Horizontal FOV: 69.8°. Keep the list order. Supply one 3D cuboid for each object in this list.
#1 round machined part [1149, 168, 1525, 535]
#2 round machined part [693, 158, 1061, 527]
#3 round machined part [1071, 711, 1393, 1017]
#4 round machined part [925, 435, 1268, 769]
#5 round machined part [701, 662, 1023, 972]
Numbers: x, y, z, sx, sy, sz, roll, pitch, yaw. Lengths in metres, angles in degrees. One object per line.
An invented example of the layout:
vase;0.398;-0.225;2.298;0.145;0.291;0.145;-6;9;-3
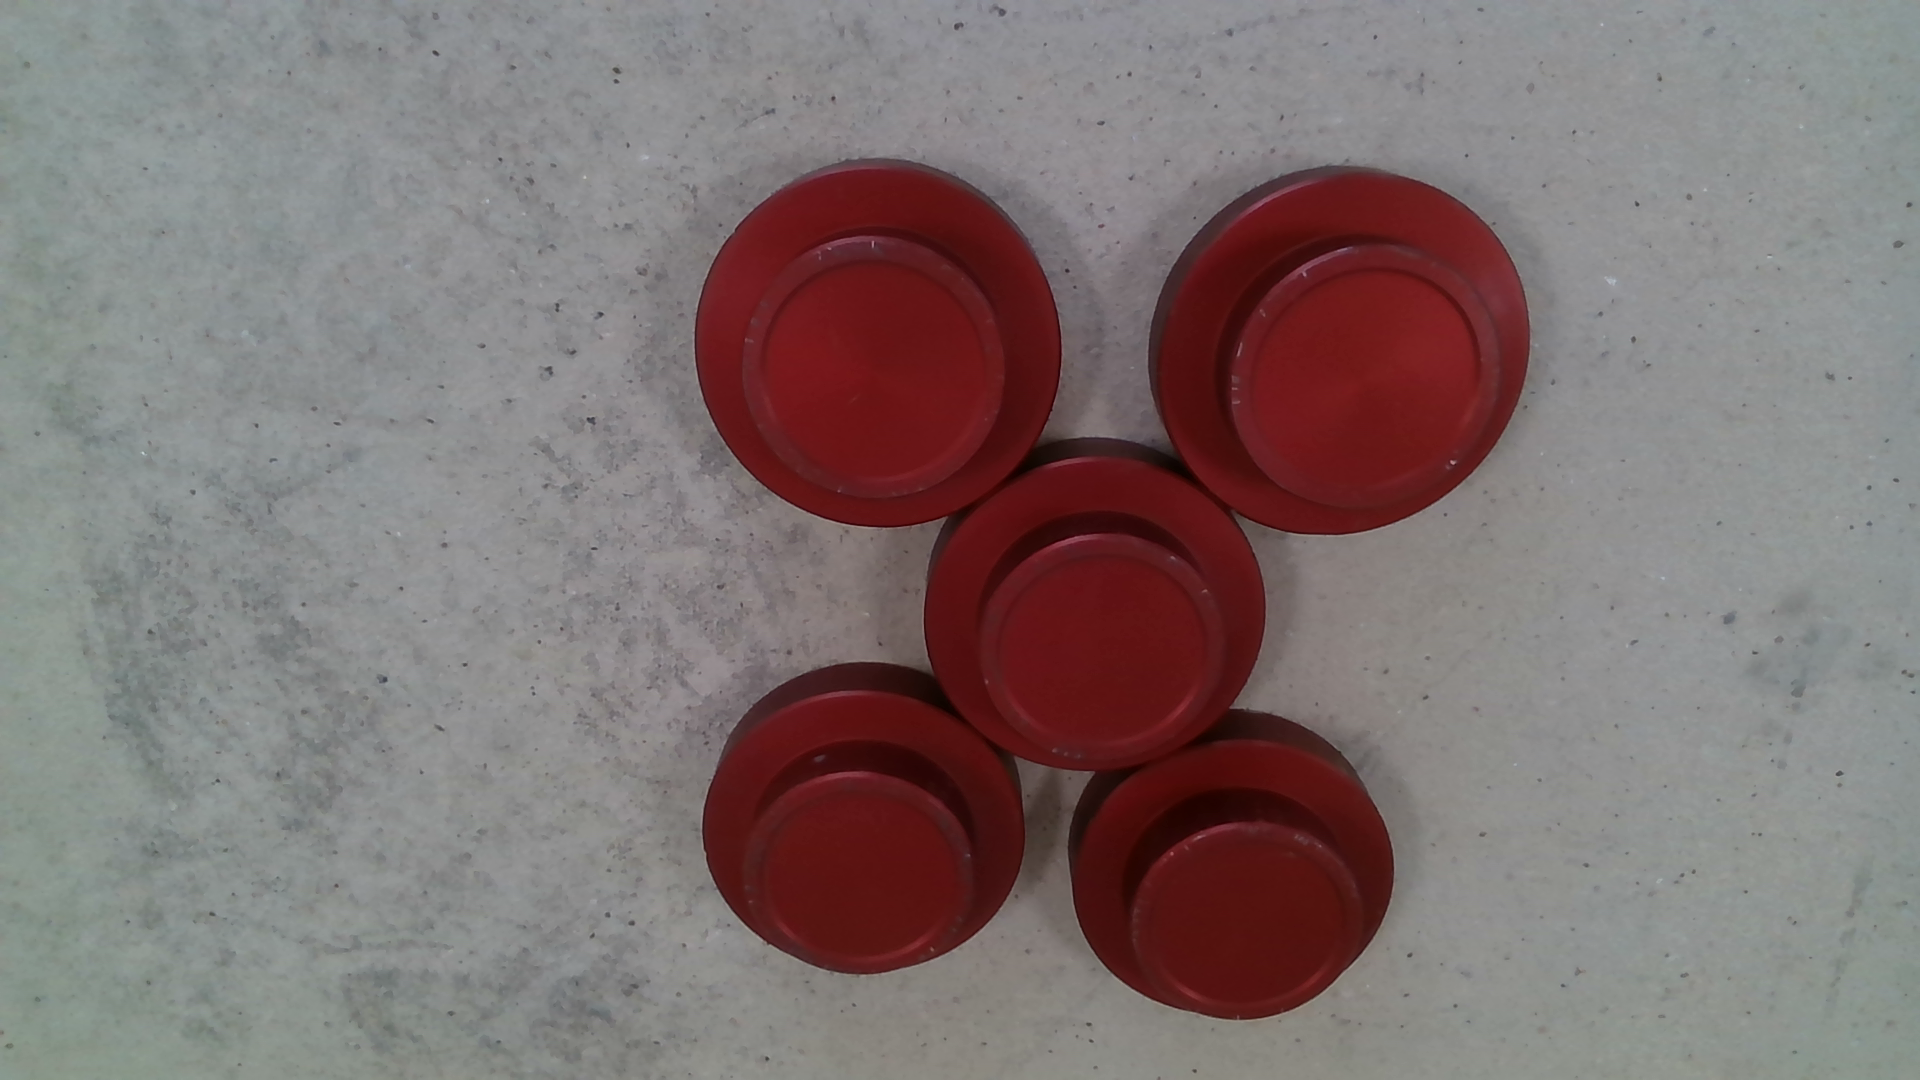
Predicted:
round machined part;0.102;-0.047;0.367;0.098;0.042;0.098;0;110;0
round machined part;-0.022;-0.049;0.366;0.098;0.042;0.098;0;110;1
round machined part;0.084;0.105;0.423;0.098;0.042;0.098;1;109;2
round machined part;0.039;0.022;0.393;0.098;0.042;0.098;1;109;2
round machined part;-0.030;0.090;0.418;0.098;0.042;0.098;1;109;2
